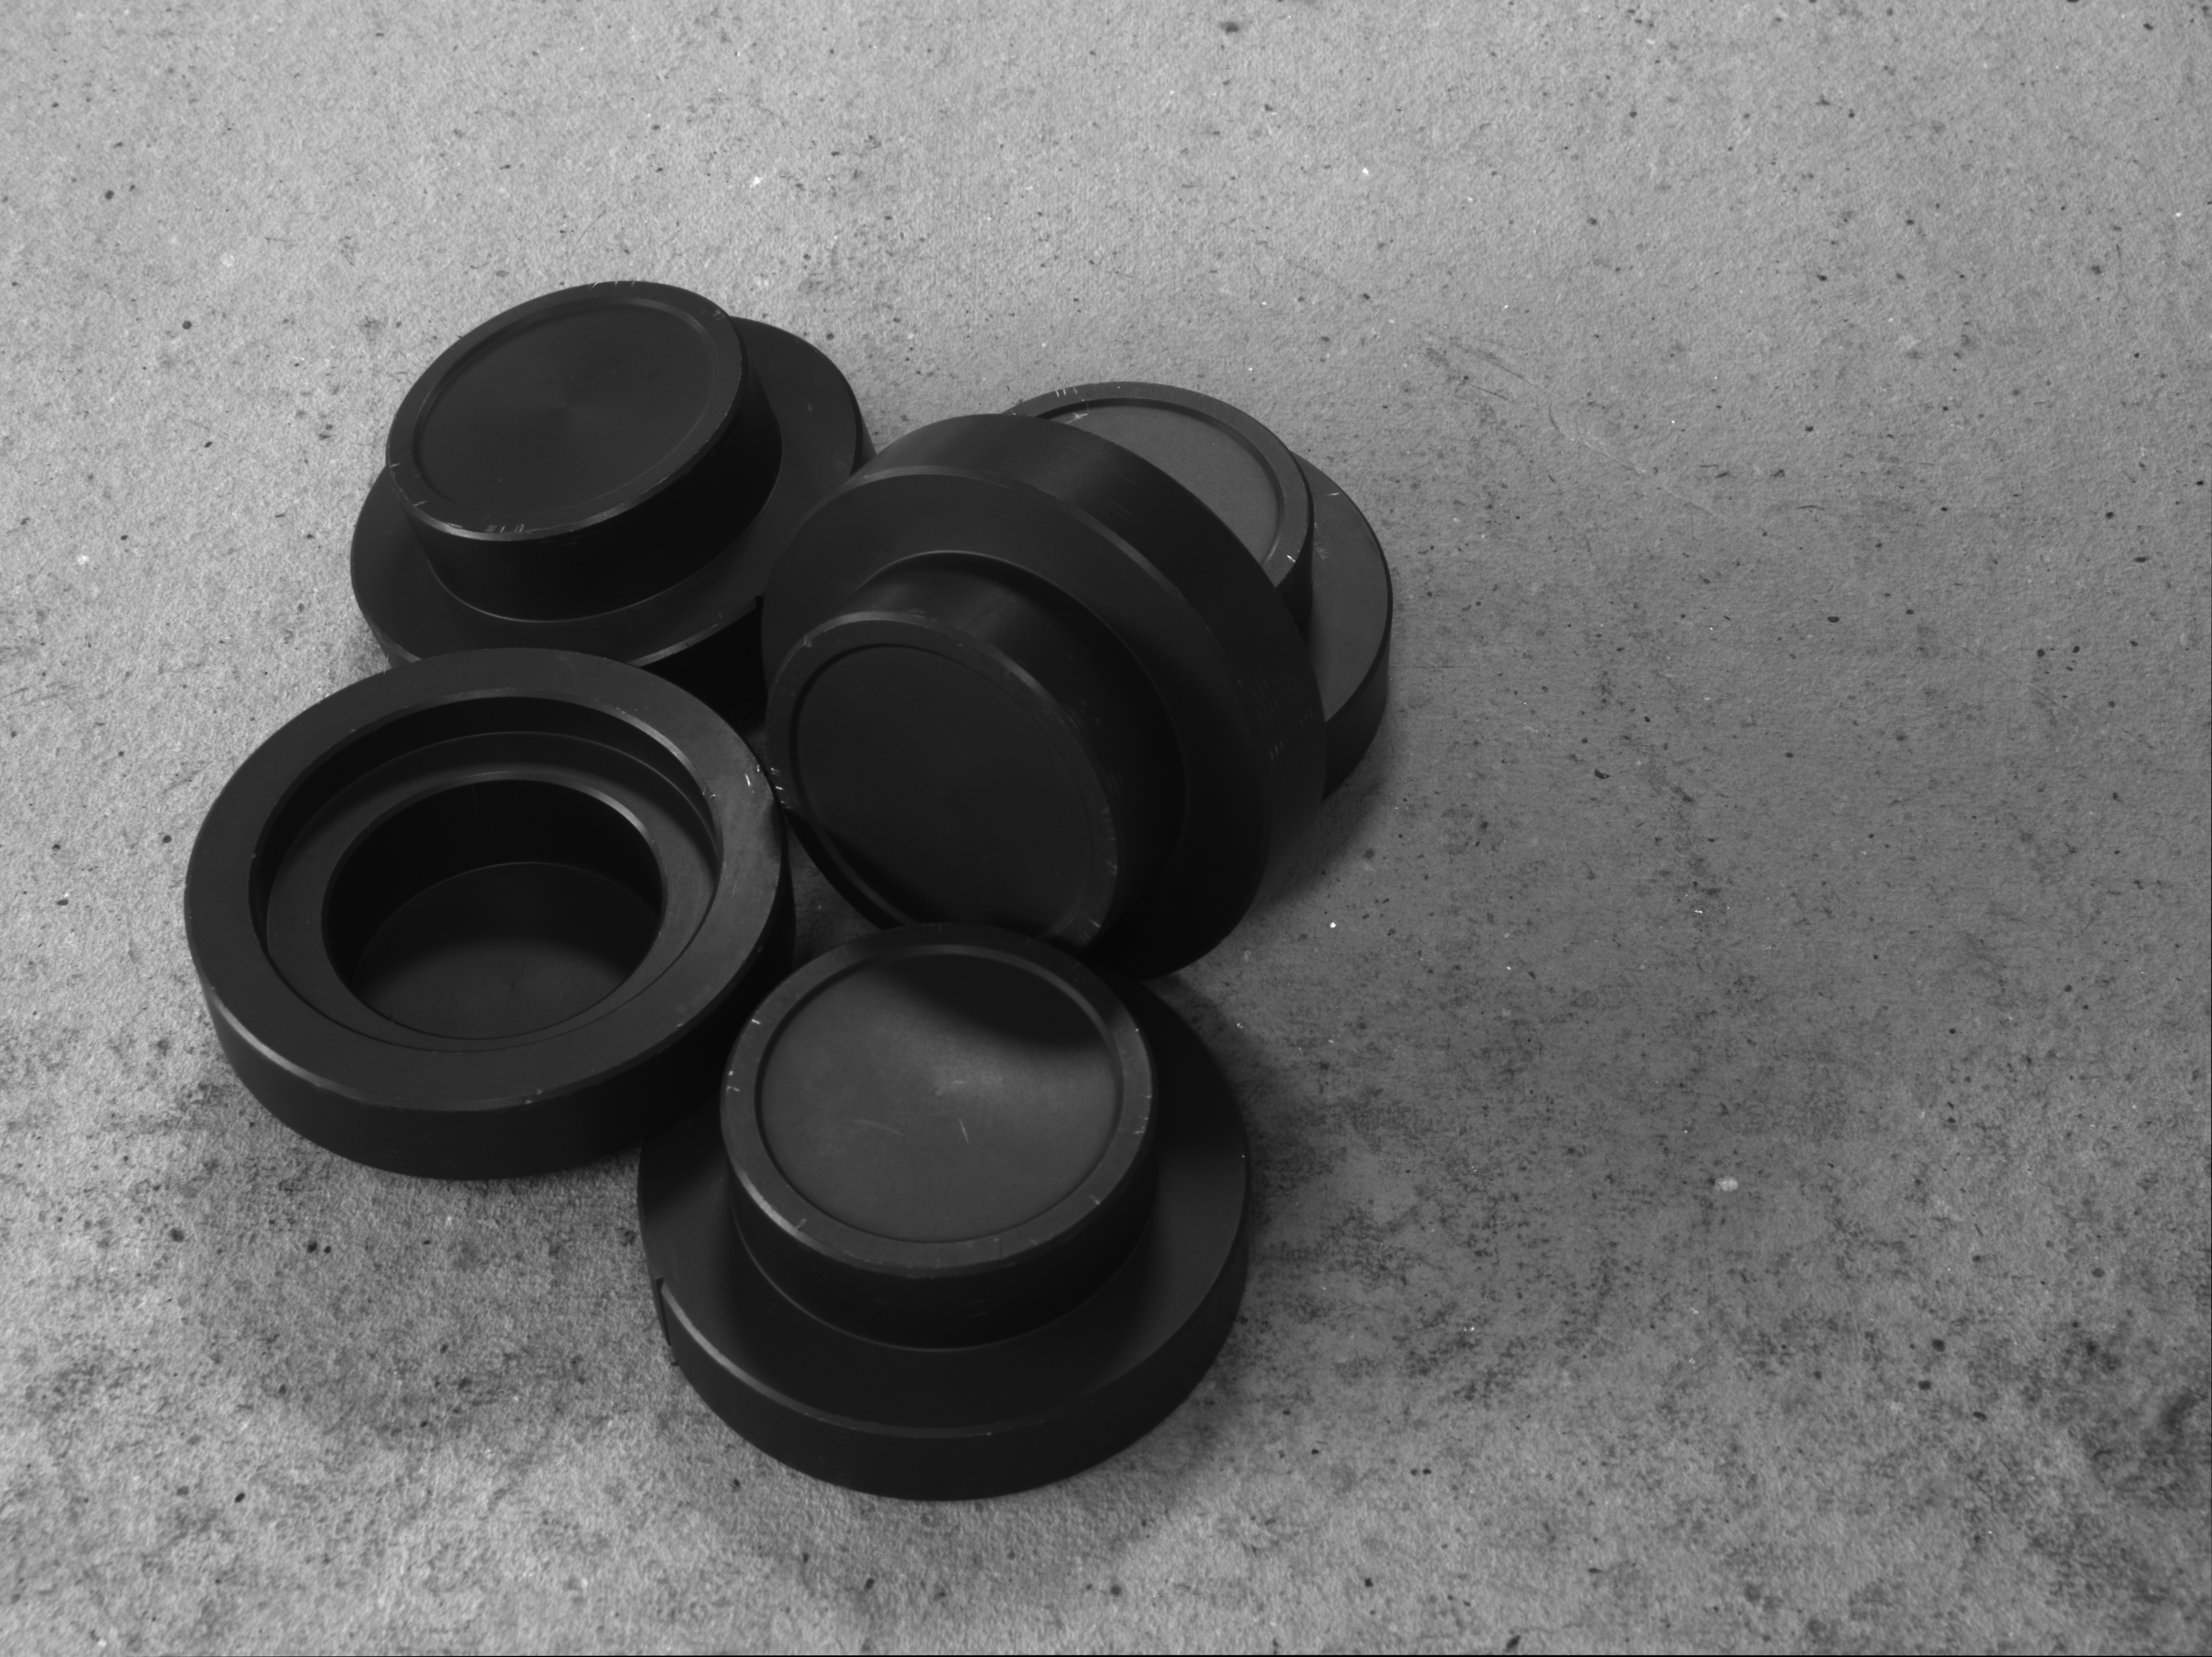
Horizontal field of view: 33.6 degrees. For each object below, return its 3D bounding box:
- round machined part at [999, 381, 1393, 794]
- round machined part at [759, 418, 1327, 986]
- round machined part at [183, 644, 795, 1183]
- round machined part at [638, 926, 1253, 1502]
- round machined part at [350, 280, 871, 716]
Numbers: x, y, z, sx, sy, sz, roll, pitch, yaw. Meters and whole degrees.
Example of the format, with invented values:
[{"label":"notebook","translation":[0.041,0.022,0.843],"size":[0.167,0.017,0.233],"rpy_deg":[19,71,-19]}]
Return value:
[{"label":"round machined part","translation":[0.003,-0.043,0.667],"size":[0.098,0.042,0.098],"rpy_deg":[0,49,0]},{"label":"round machined part","translation":[-0.016,-0.014,0.603],"size":[0.098,0.098,0.042],"rpy_deg":[23,40,19]},{"label":"round machined part","translation":[-0.101,0.019,0.615],"size":[0.098,0.042,0.098],"rpy_deg":[0,51,0]},{"label":"round machined part","translation":[-0.025,0.054,0.585],"size":[0.098,0.042,0.098],"rpy_deg":[1,48,0]},{"label":"round machined part","translation":[-0.092,-0.062,0.669],"size":[0.098,0.042,0.098],"rpy_deg":[-9,47,10]}]
